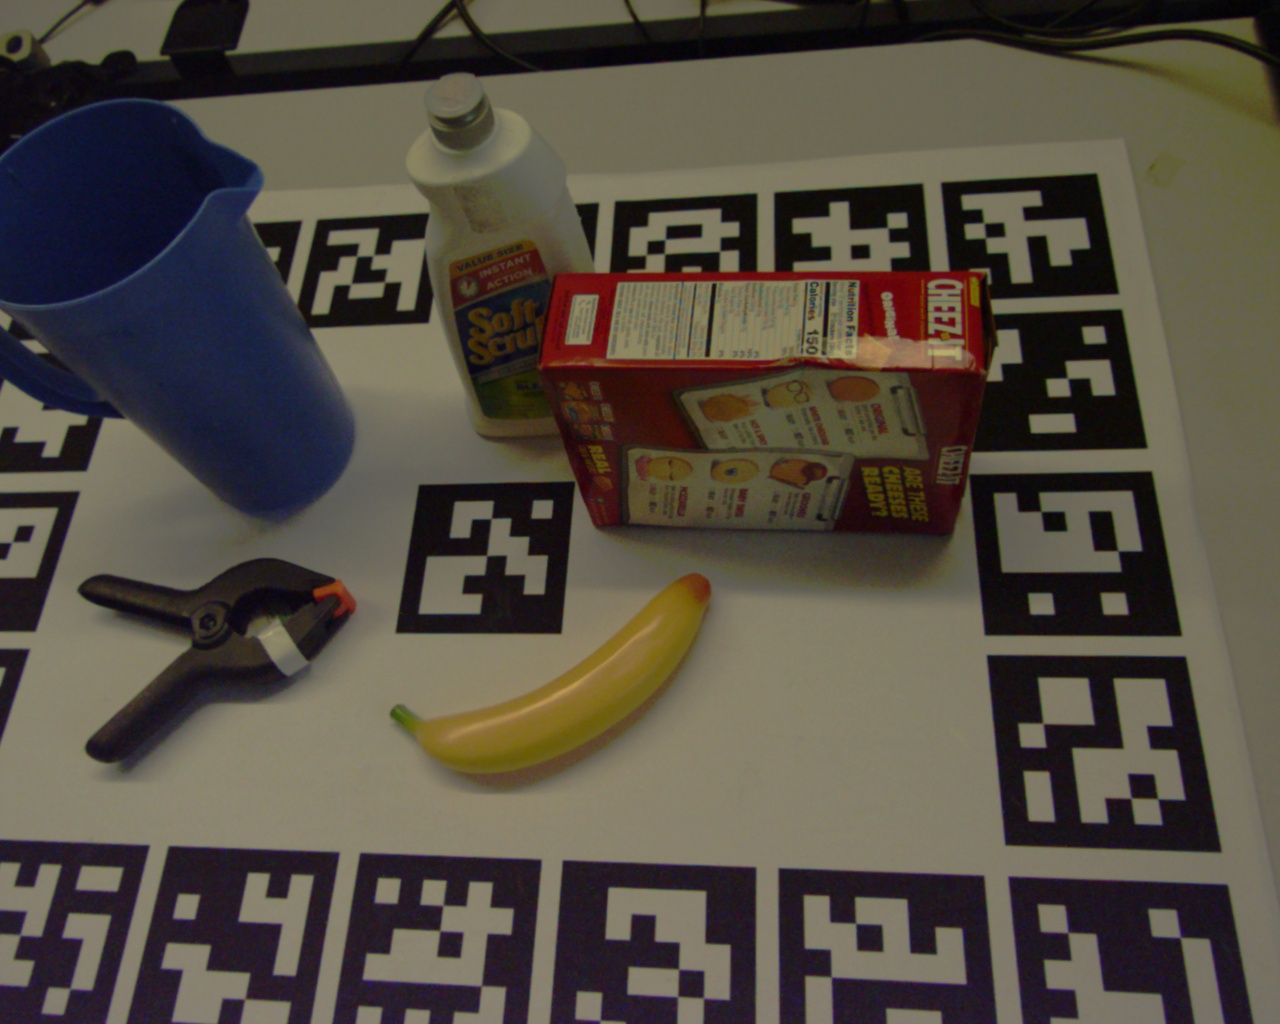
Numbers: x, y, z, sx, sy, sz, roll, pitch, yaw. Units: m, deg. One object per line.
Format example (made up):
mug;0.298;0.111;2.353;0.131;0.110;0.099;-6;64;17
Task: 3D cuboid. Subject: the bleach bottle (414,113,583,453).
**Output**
bleach bottle;-0.085;-0.130;0.687;0.103;0.249;0.068;-2;59;8

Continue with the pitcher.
pitcher;-0.275;-0.100;0.680;0.188;0.241;0.134;-17;58;-4

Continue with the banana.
banana;-0.035;0.095;0.679;0.197;0.038;0.075;-31;60;-8

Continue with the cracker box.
cracker box;0.069;-0.056;0.649;0.215;0.163;0.072;-1;57;11

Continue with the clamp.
clamp;-0.253;0.076;0.719;0.165;0.036;0.123;-15;57;-1
